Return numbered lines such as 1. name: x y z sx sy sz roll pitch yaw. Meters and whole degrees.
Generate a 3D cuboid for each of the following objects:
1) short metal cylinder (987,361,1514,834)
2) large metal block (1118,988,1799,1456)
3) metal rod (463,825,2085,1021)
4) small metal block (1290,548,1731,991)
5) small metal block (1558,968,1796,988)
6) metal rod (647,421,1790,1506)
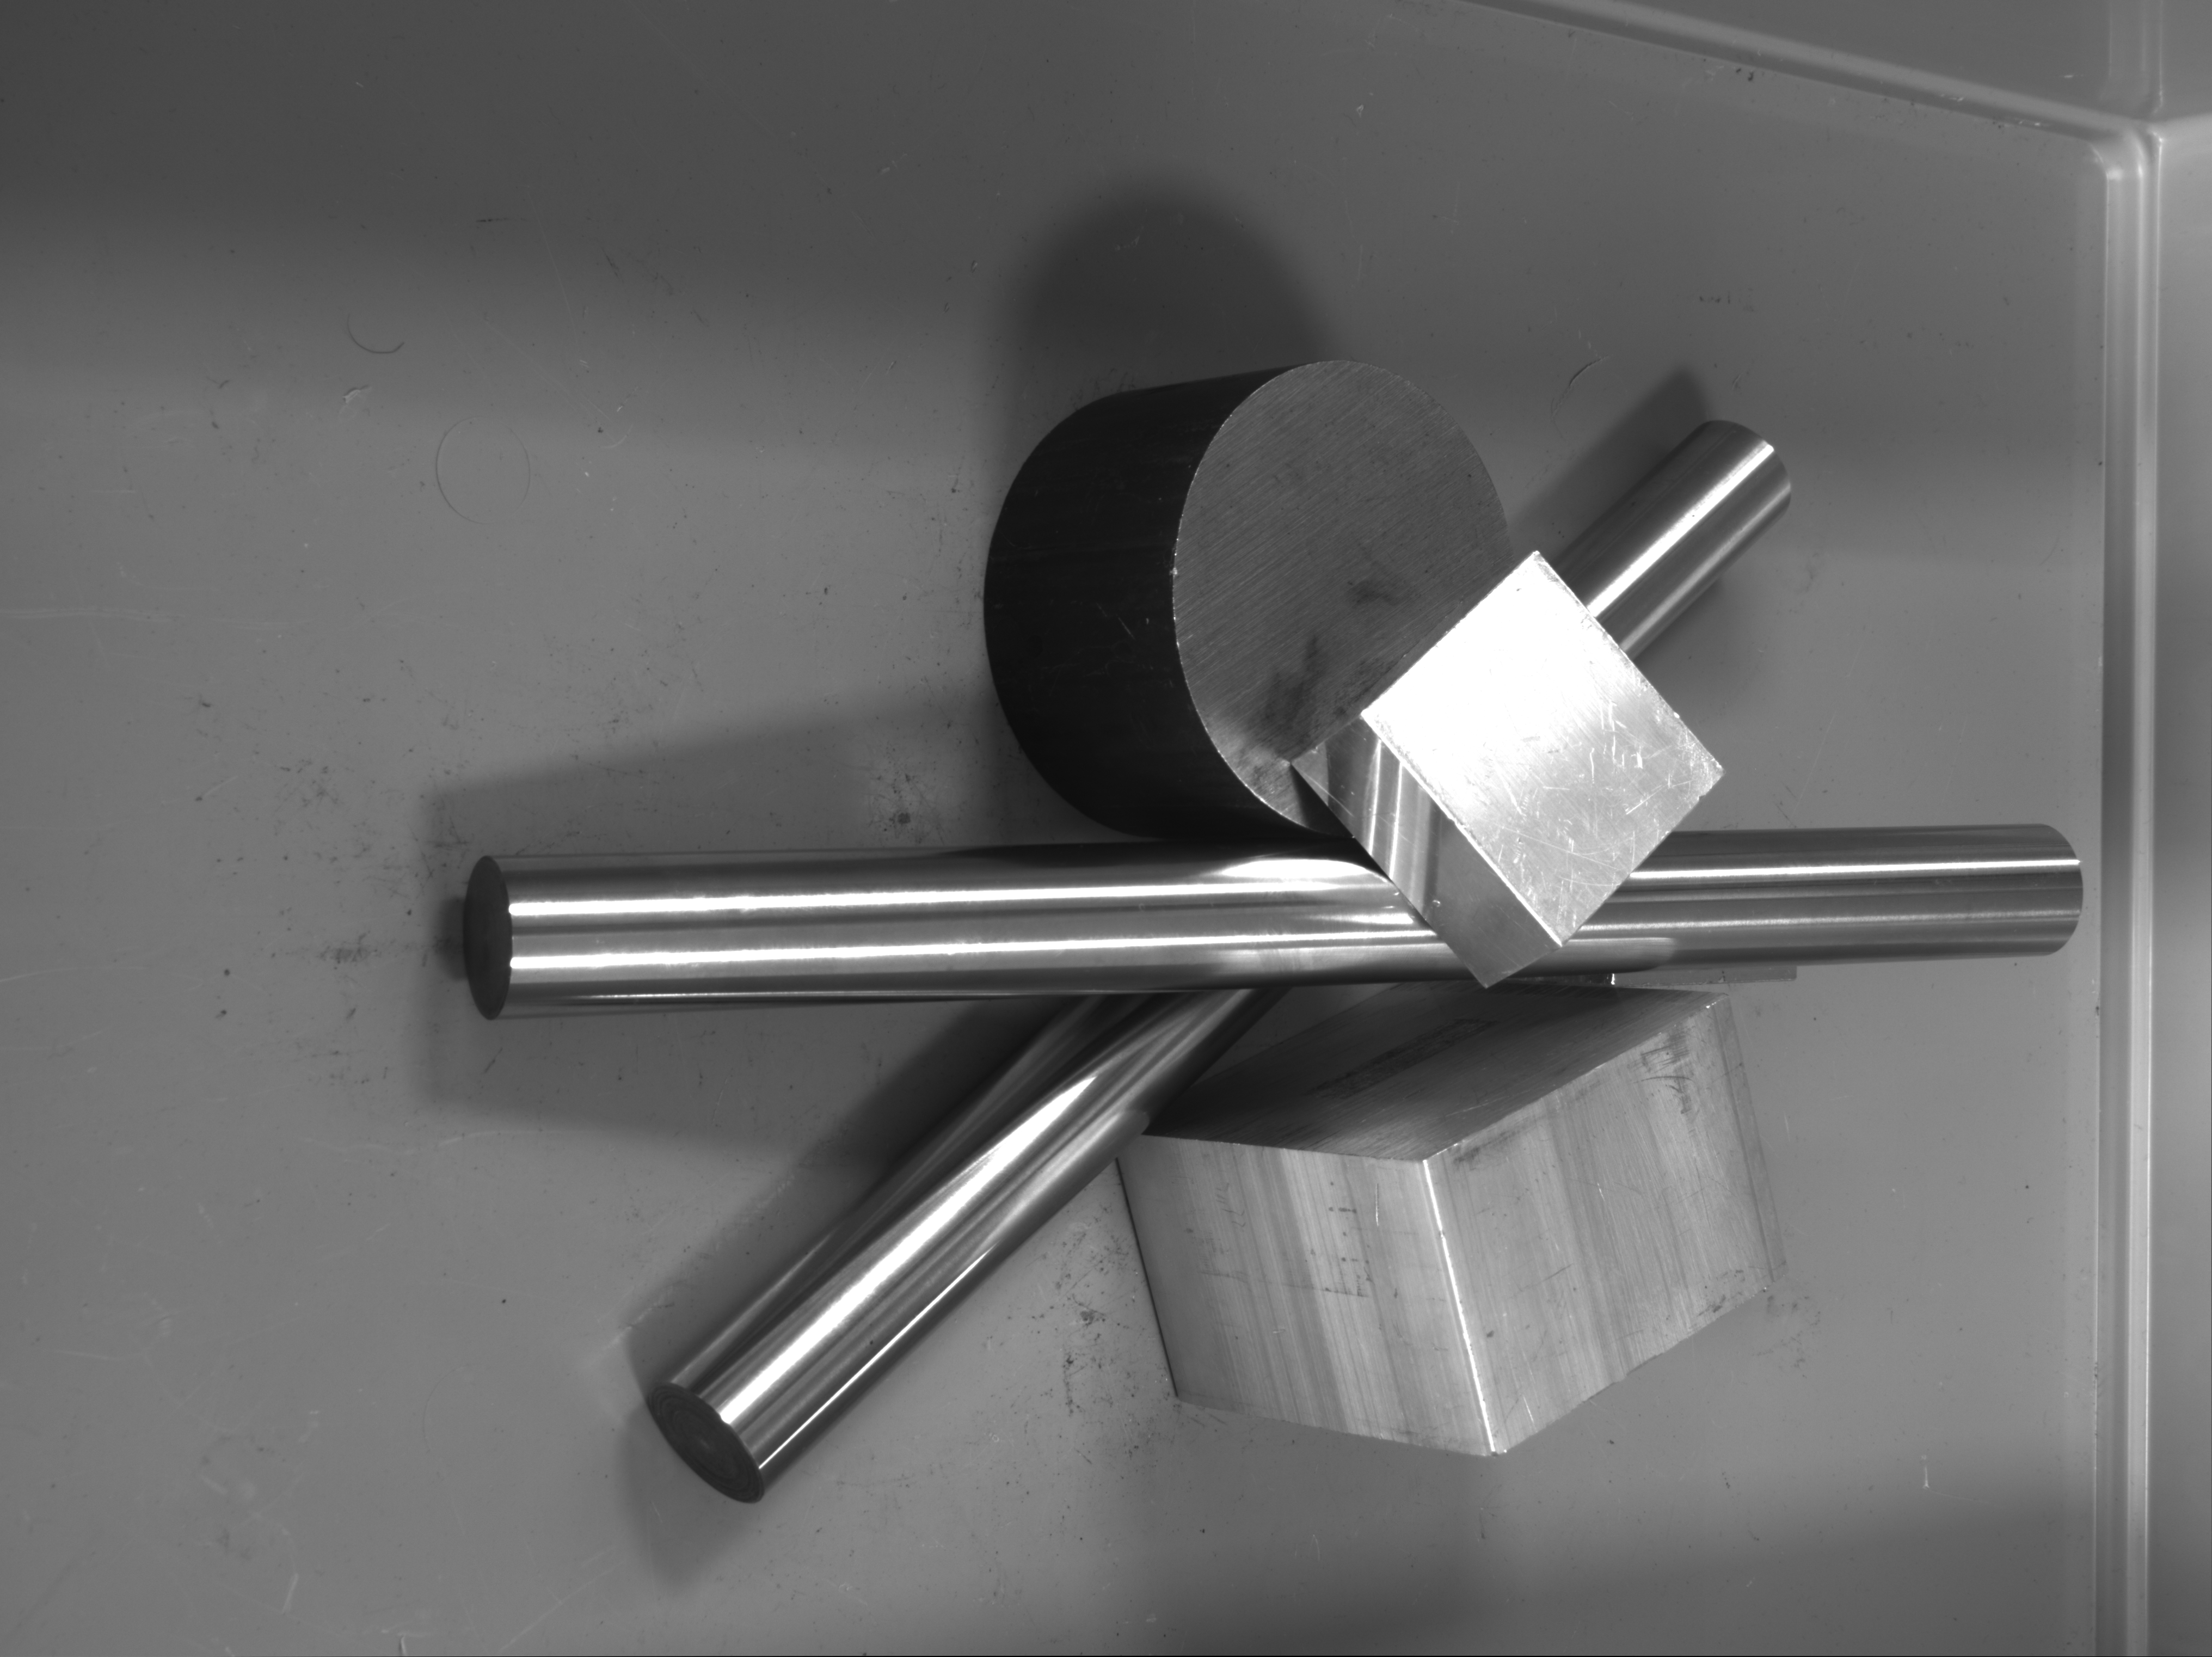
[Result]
1. short metal cylinder: 0.026 -0.039 0.640 0.080 0.050 0.080 1 88 -40
2. large metal block: 0.061 0.066 0.649 0.080 0.080 0.050 -23 104 -37
3. metal rod: 0.041 0.014 0.623 0.301 0.025 0.025 -1 91 -26
4. small metal block: 0.068 -0.010 0.616 0.050 0.025 0.050 49 59 -2
5. small metal block: 0.095 0.016 0.698 0.050 0.050 0.025 0 89 -39
6. metal rod: 0.032 0.013 0.662 0.301 0.025 0.025 -42 115 -32
